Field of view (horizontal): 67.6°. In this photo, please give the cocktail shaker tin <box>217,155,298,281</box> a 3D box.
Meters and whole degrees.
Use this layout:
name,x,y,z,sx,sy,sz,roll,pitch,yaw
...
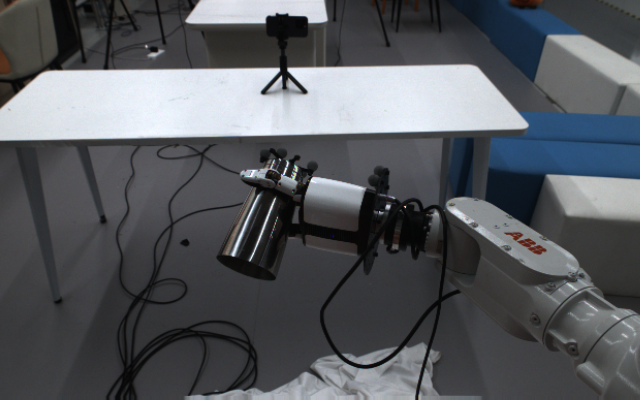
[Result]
name,x,y,z,sx,sy,sz,roll,pitch,yaw
cocktail shaker tin,-0.079,0.022,0.729,0.093,0.093,0.170,13,65,15
